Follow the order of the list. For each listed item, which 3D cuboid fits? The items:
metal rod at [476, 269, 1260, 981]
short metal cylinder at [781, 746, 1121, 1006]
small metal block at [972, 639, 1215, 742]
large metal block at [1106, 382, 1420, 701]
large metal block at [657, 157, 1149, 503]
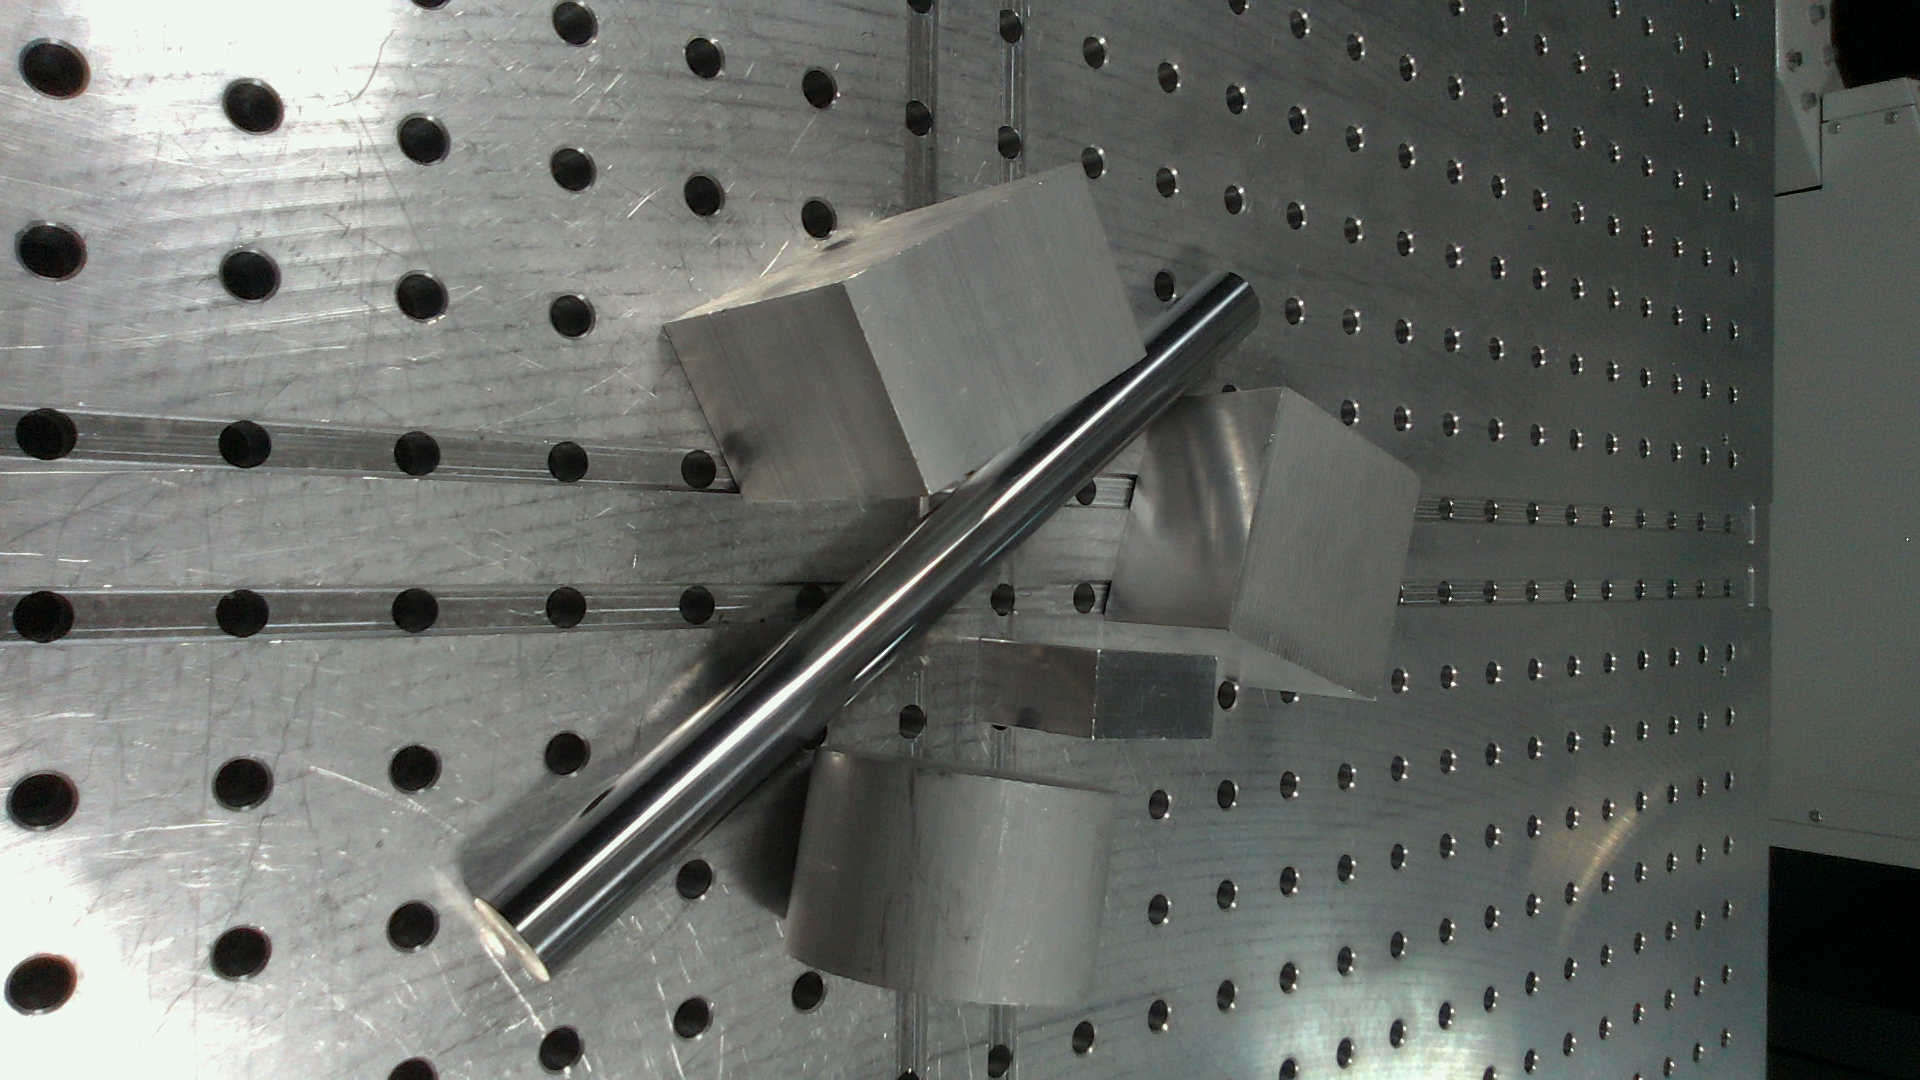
[{"bbox_3d":[-0.005,0.004,0.387,0.301,0.025,0.025,-42,115,-32],"label":"metal rod"},{"bbox_3d":[-0.002,0.084,0.354,0.080,0.080,0.050,15,81,-39],"label":"short metal cylinder"},{"bbox_3d":[0.039,0.045,0.409,0.050,0.050,0.025,7,86,-40],"label":"small metal block"},{"bbox_3d":[0.102,0.002,0.458,0.080,0.050,0.080,25,75,-37],"label":"large metal block"},{"bbox_3d":[-0.014,-0.051,0.345,0.080,0.080,0.050,-35,112,-34],"label":"large metal block"}]
